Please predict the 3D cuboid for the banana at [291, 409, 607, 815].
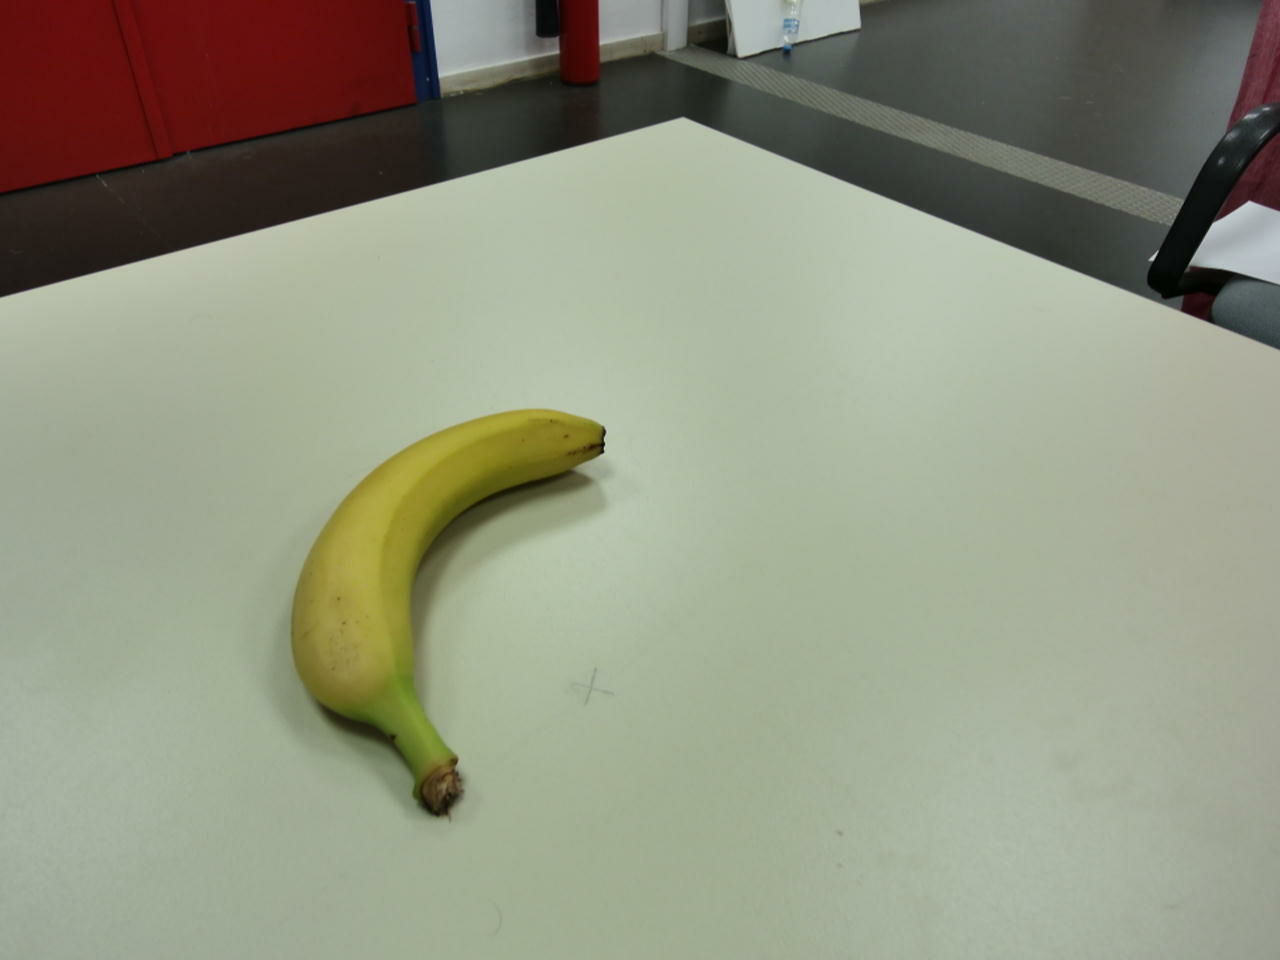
[{"bbox_3d":[-0.081,0.029,0.393,0.094,0.041,0.196,9,37,11],"label":"banana"}]
